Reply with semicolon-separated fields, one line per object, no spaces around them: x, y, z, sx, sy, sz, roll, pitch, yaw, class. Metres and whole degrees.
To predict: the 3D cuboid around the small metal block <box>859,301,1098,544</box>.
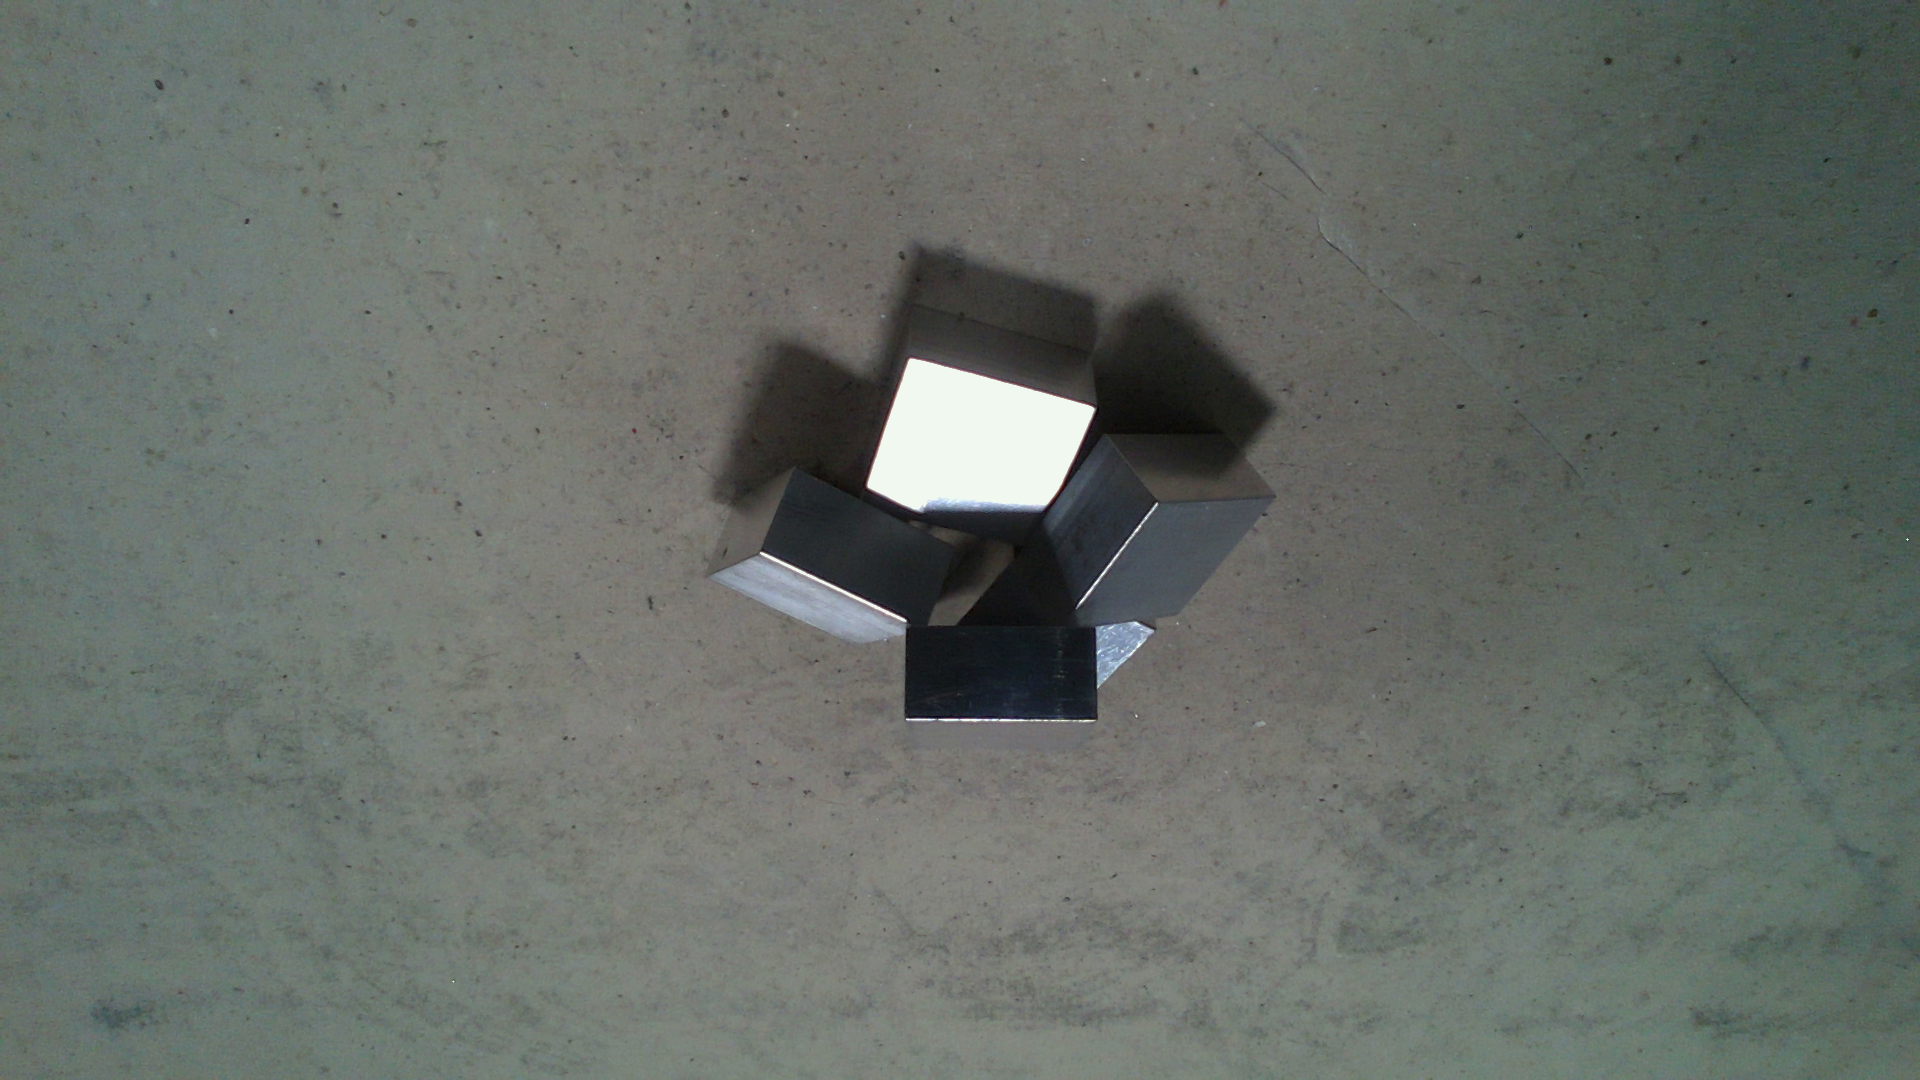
0.004;-0.030;0.366;0.050;0.025;0.050;13;129;-11;small metal block

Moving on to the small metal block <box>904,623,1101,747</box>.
0.011;0.041;0.378;0.050;0.025;0.050;0;163;0;small metal block

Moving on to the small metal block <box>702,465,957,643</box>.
-0.037;0.006;0.380;0.050;0.025;0.050;26;161;-21;small metal block

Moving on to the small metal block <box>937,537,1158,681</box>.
0.023;0.023;0.411;0.050;0.025;0.050;26;125;-20;small metal block

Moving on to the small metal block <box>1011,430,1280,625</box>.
0.050;-0.003;0.374;0.050;0.025;0.050;-5;140;-42;small metal block
